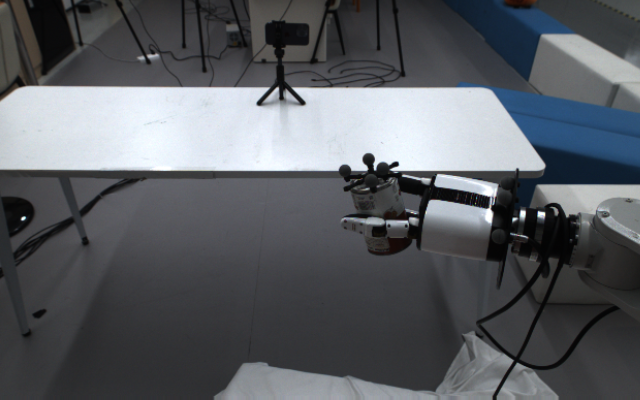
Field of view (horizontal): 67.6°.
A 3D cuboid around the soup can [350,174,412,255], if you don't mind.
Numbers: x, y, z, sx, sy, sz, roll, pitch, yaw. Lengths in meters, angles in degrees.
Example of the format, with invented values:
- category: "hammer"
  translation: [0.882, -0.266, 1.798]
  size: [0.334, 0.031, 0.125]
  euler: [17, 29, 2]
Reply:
- category: "soup can"
  translation: [0.087, 0.017, 0.675]
  size: [0.067, 0.101, 0.067]
  euler: [-16, 22, 7]
